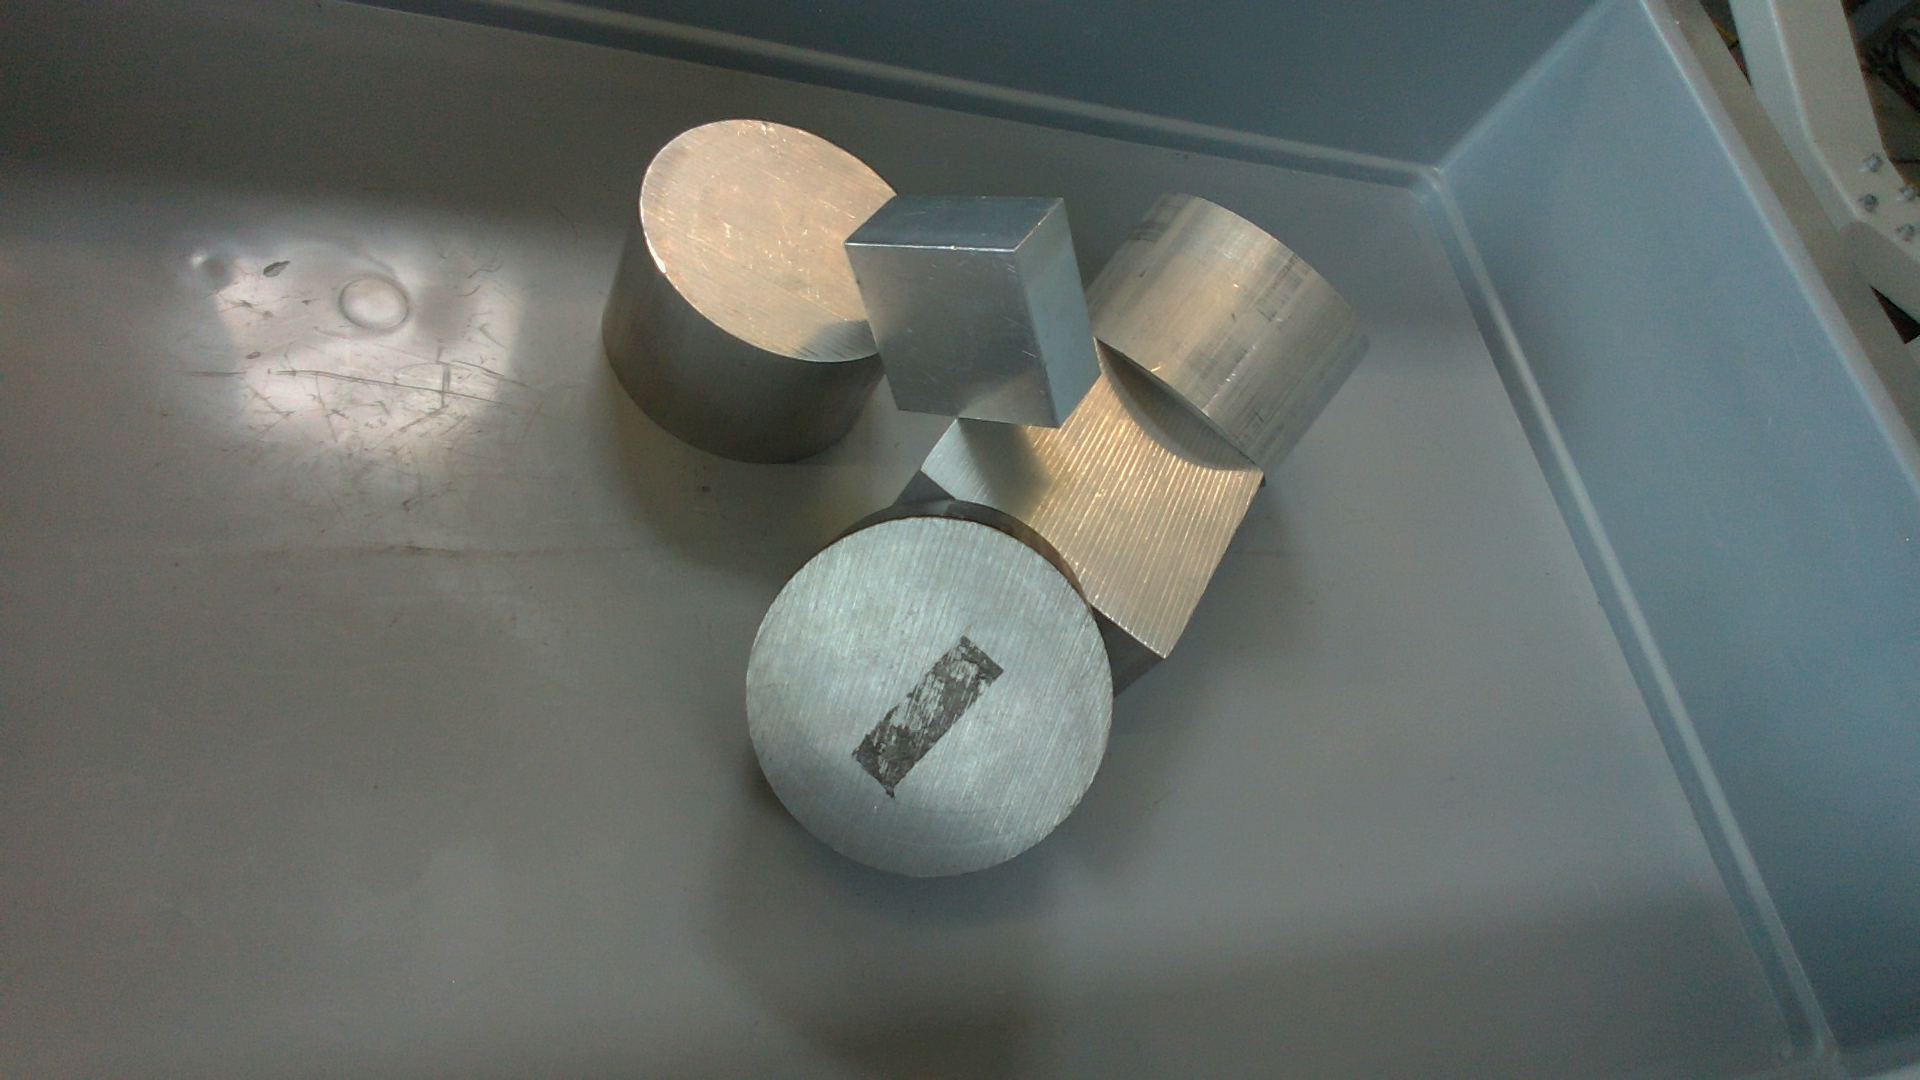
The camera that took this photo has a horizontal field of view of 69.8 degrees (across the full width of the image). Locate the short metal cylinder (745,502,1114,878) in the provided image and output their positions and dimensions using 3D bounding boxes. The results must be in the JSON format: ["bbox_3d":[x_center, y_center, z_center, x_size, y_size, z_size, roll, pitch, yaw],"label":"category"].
[{"bbox_3d":[-0.006,0.032,0.322,0.080,0.050,0.080,0,97,2],"label":"short metal cylinder"}]

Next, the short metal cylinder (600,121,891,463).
[{"bbox_3d":[-0.055,-0.069,0.385,0.080,0.050,0.080,14,56,-21],"label":"short metal cylinder"}]

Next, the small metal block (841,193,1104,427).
[{"bbox_3d":[0.004,-0.058,0.346,0.050,0.050,0.025,9,44,32],"label":"small metal block"}]

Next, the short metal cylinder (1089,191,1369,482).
[{"bbox_3d":[0.077,-0.061,0.422,0.080,0.080,0.050,37,90,-3],"label":"short metal cylinder"}]

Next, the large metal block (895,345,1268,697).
[{"bbox_3d":[0.029,-0.007,0.389,0.080,0.050,0.080,38,51,-3],"label":"large metal block"}]
